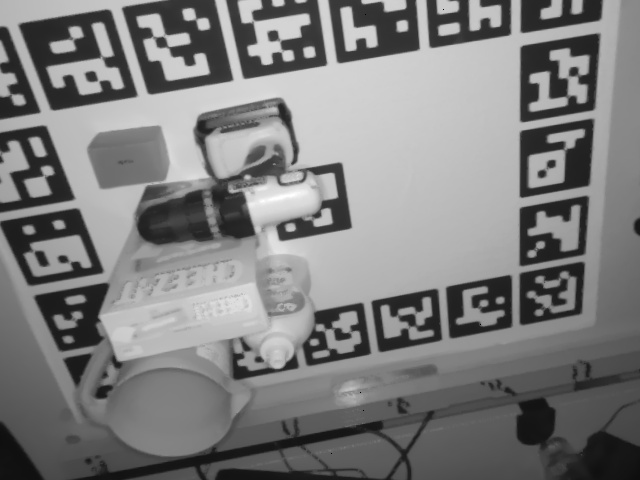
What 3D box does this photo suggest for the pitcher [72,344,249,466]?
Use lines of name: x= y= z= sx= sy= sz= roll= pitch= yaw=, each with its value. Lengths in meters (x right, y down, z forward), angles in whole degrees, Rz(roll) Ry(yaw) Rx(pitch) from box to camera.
pitcher: x=-0.182 y=0.137 z=0.829 sx=0.190 sy=0.243 sz=0.132 roll=-4 pitch=119 yaw=-5

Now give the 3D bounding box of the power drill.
power drill: x=-0.095 y=-0.059 z=0.722 sx=0.185 sy=0.188 sz=0.057 roll=-10 pitch=122 yaw=0

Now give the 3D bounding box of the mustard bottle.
mustard bottle: x=-0.051 y=0.111 z=0.842 sx=0.097 sy=0.192 sz=0.058 roll=3 pitch=117 yaw=-7

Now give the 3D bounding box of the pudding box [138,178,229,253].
pudding box: x=-0.153 y=-0.030 z=0.811 sx=0.114 sy=0.090 sz=0.038 roll=-9 pitch=120 yaw=-4

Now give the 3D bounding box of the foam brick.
foam brick: x=-0.221 y=-0.092 z=0.807 sx=0.078 sy=0.051 sz=0.052 roll=-7 pitch=117 yaw=-2

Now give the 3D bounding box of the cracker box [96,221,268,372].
cracker box: x=-0.150 y=0.039 z=0.786 sx=0.165 sy=0.214 sz=0.071 roll=-12 pitch=121 yaw=-2
